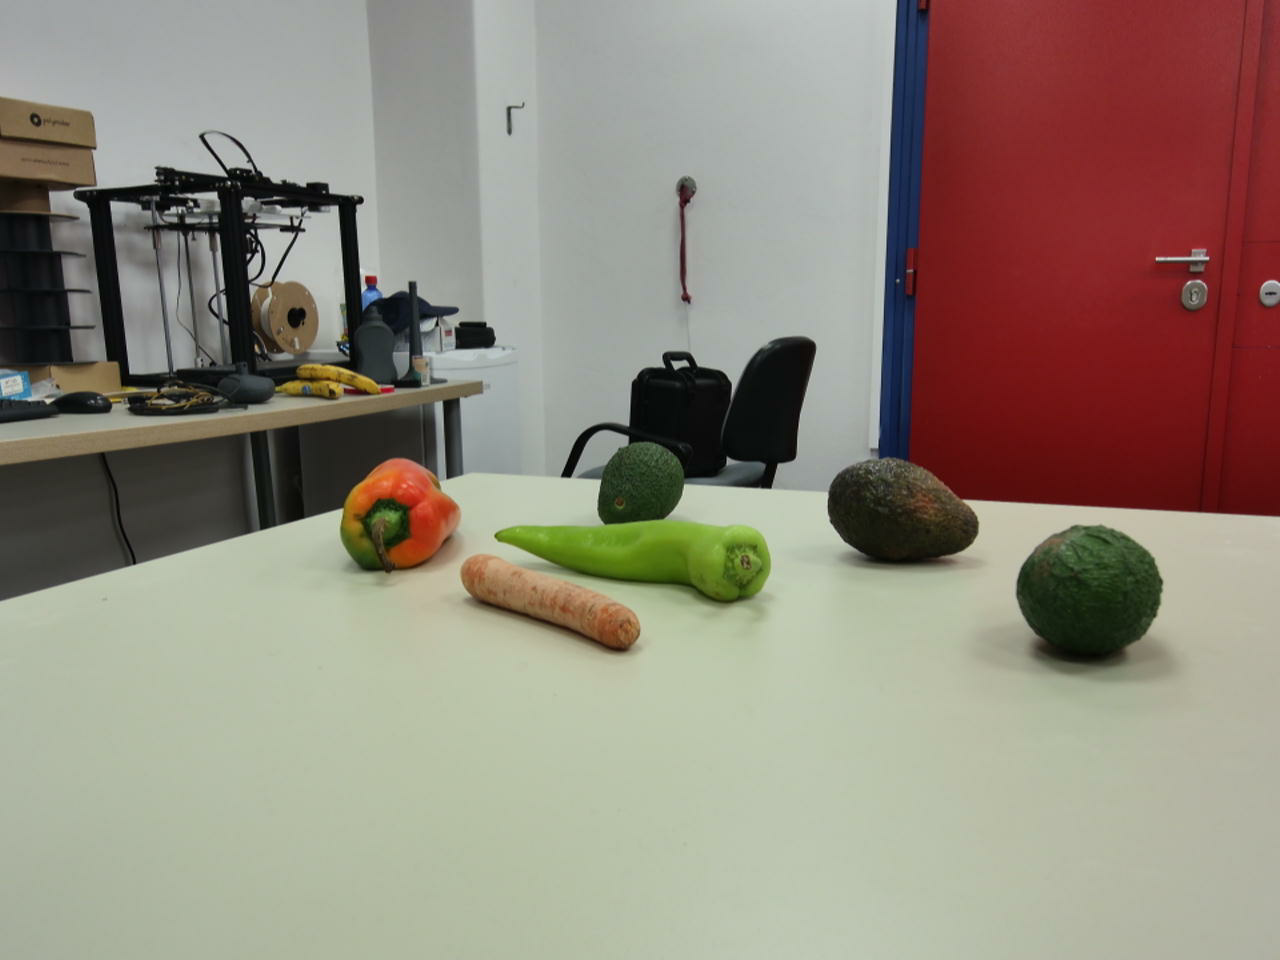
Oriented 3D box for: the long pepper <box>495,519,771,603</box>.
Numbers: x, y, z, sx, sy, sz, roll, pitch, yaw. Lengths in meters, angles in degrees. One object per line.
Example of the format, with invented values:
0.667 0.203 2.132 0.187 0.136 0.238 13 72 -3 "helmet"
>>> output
0.001 0.043 0.631 0.205 0.045 0.065 6 9 39 "long pepper"
